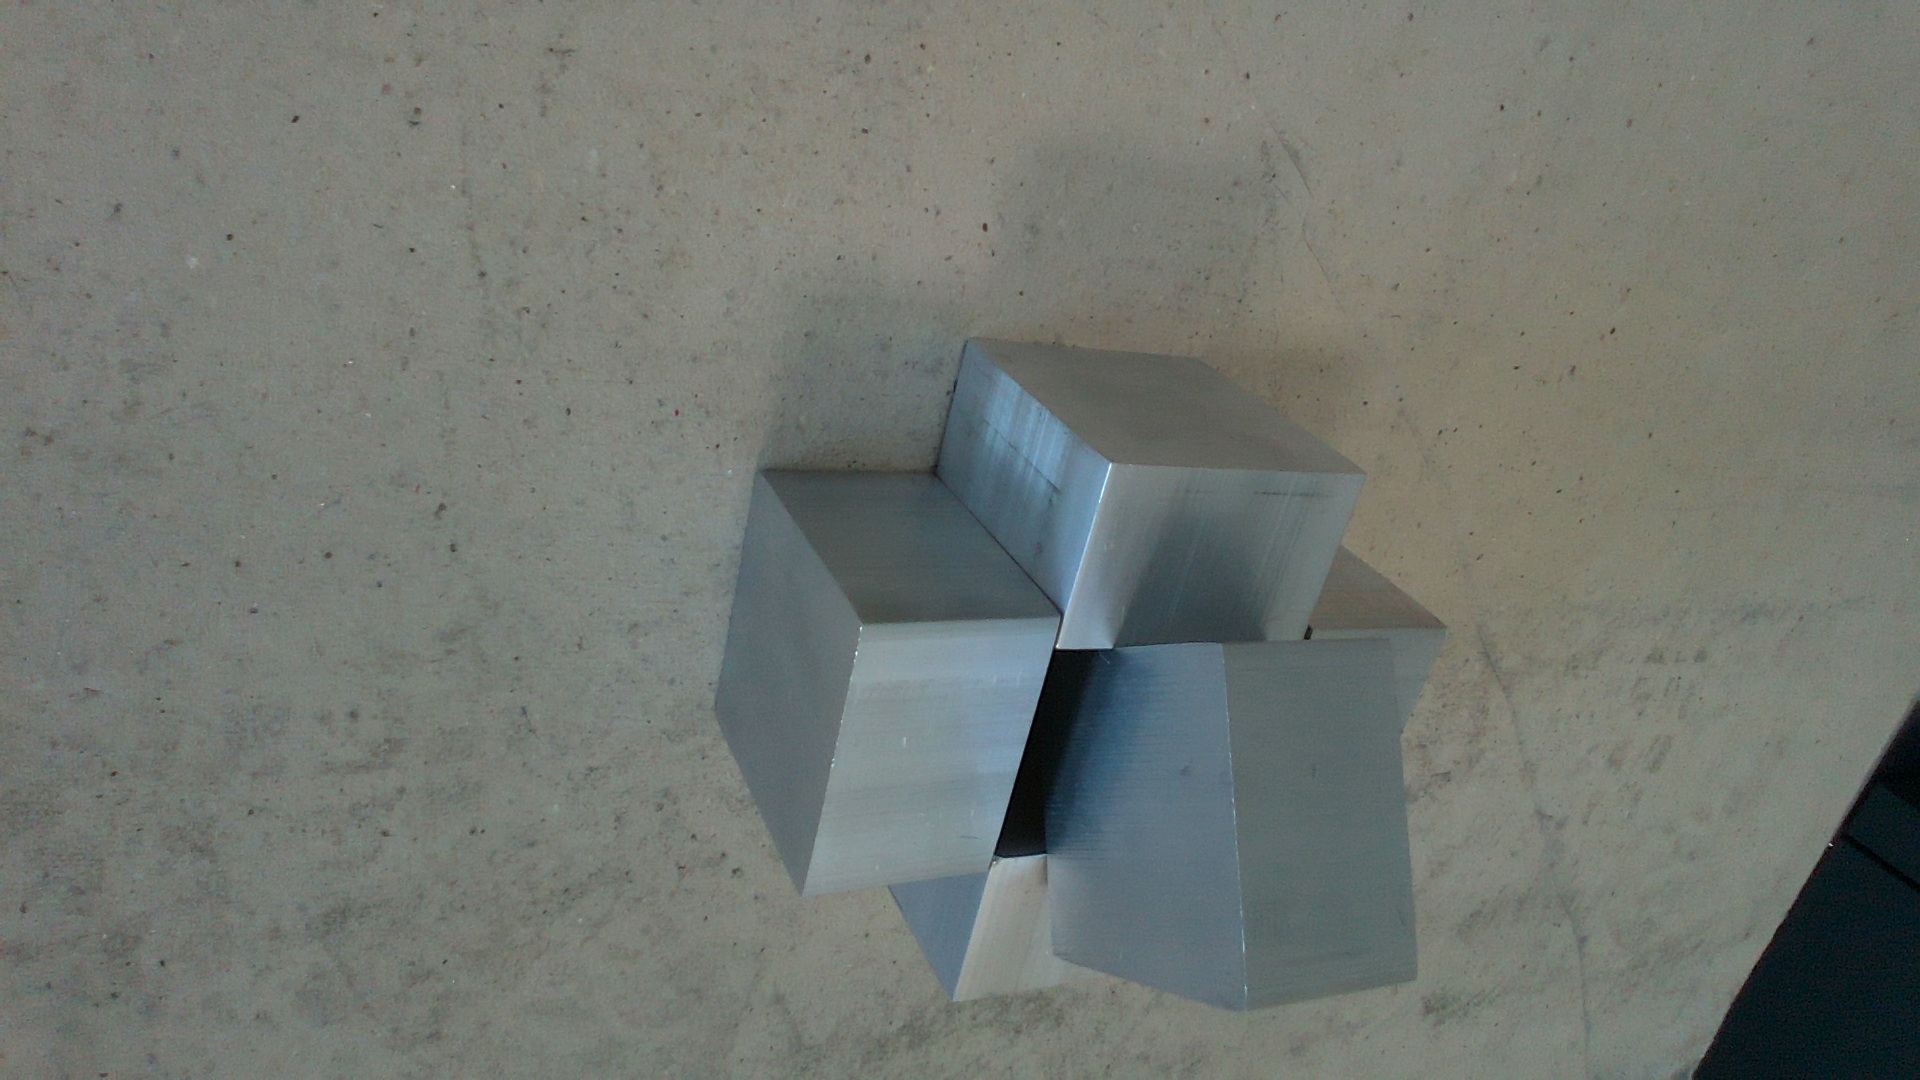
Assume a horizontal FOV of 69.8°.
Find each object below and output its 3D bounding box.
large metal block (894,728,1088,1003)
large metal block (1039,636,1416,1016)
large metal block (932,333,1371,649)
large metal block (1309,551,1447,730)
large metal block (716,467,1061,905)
[{"bbox_3d":[0.022,0.087,0.419,0.080,0.080,0.050,0,118,-28],"label":"large metal block"},{"bbox_3d":[0.063,0.066,0.345,0.050,0.080,0.080,1,84,-29],"label":"large metal block"},{"bbox_3d":[0.047,-0.014,0.371,0.080,0.080,0.050,1,118,-29],"label":"large metal block"},{"bbox_3d":[0.091,0.040,0.428,0.050,0.080,0.080,1,118,-29],"label":"large metal block"},{"bbox_3d":[-0.023,0.035,0.361,0.050,0.080,0.080,0,118,-28],"label":"large metal block"}]
